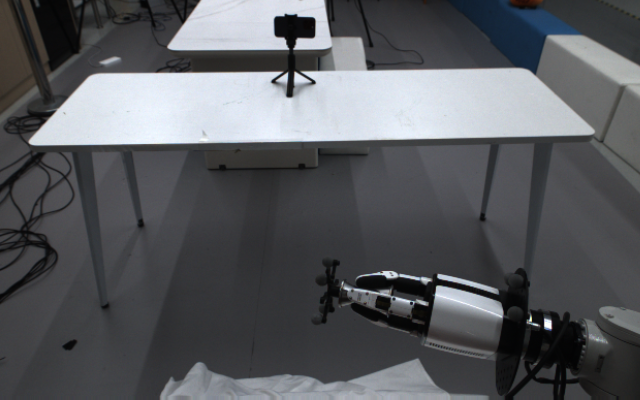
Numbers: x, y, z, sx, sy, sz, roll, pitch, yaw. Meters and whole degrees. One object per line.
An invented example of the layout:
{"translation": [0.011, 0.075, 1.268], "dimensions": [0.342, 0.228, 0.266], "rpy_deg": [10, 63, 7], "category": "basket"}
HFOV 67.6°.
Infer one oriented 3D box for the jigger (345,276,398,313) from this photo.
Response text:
{"translation": [0.069, 0.128, 0.655], "dimensions": [0.071, 0.043, 0.043], "rpy_deg": [7, 35, 14], "category": "jigger"}
